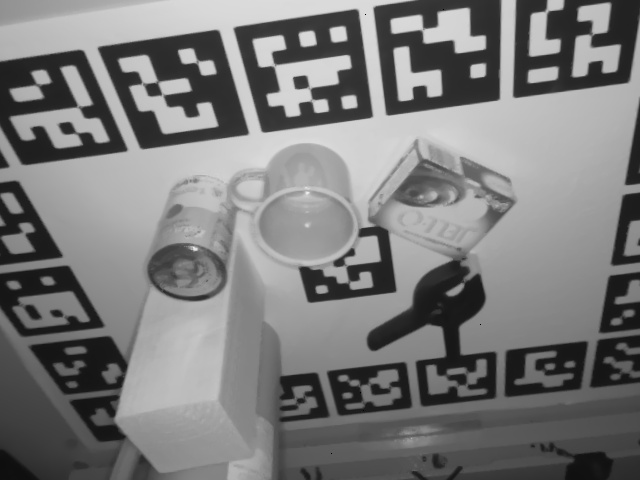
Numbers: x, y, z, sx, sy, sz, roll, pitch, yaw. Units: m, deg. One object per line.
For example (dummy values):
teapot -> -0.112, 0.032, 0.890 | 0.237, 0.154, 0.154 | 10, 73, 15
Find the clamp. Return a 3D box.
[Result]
clamp -> 0.132, 0.087, 0.769 | 0.122, 0.037, 0.163 | 20, 126, -8

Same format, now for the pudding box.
pudding box -> 0.129, -0.034, 0.663 | 0.115, 0.039, 0.089 | 22, 122, -20

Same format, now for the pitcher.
pitcher -> -0.116, 0.205, 0.715 | 0.189, 0.244, 0.132 | -9, 131, 3

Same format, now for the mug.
mug -> -0.019, -0.037, 0.623 | 0.118, 0.082, 0.092 | 21, 128, -19

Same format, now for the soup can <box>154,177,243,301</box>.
soup can -> -0.108, -0.003, 0.633 | 0.068, 0.103, 0.067 | -1, 127, 0

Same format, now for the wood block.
wood block -> -0.110, 0.100, 0.649 | 0.089, 0.208, 0.090 | -7, 130, 10
